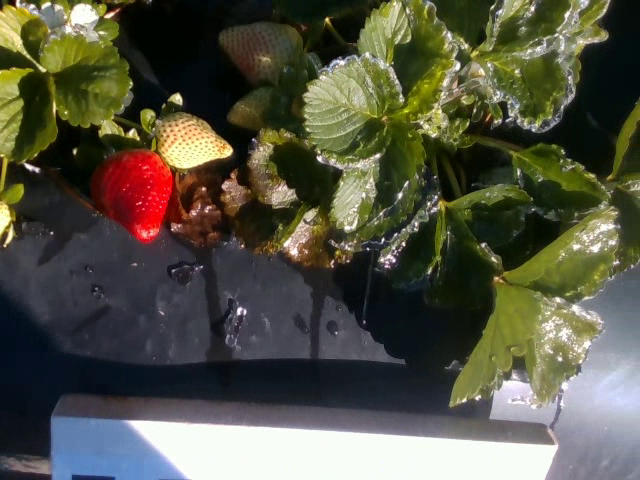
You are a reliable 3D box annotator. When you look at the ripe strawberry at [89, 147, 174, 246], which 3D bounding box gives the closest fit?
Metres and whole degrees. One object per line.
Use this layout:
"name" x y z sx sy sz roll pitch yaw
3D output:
"ripe strawberry" -0.083 -0.017 0.279 0.040 0.053 0.042 -29 -37 5
